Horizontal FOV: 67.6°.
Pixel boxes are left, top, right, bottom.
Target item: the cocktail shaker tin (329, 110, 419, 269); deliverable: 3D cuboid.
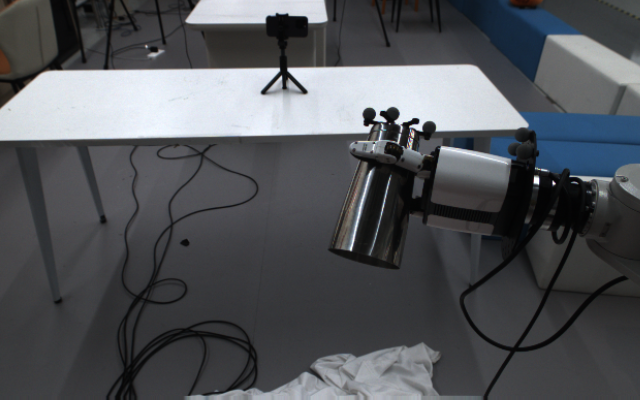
[{"bbox_3d":[0.079,-0.010,0.612,0.093,0.093,0.170,13,77,15],"label":"cocktail shaker tin"}]
